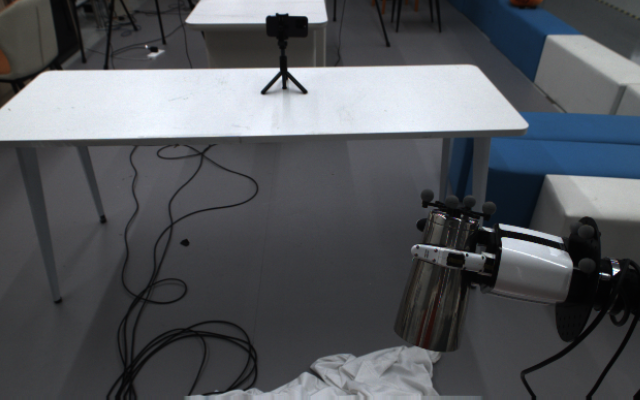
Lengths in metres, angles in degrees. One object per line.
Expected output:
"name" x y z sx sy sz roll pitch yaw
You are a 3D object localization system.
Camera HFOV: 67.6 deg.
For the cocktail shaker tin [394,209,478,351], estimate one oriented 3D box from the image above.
"cocktail shaker tin" 0.165 0.099 0.651 0.093 0.170 0.093 10 9 -2
